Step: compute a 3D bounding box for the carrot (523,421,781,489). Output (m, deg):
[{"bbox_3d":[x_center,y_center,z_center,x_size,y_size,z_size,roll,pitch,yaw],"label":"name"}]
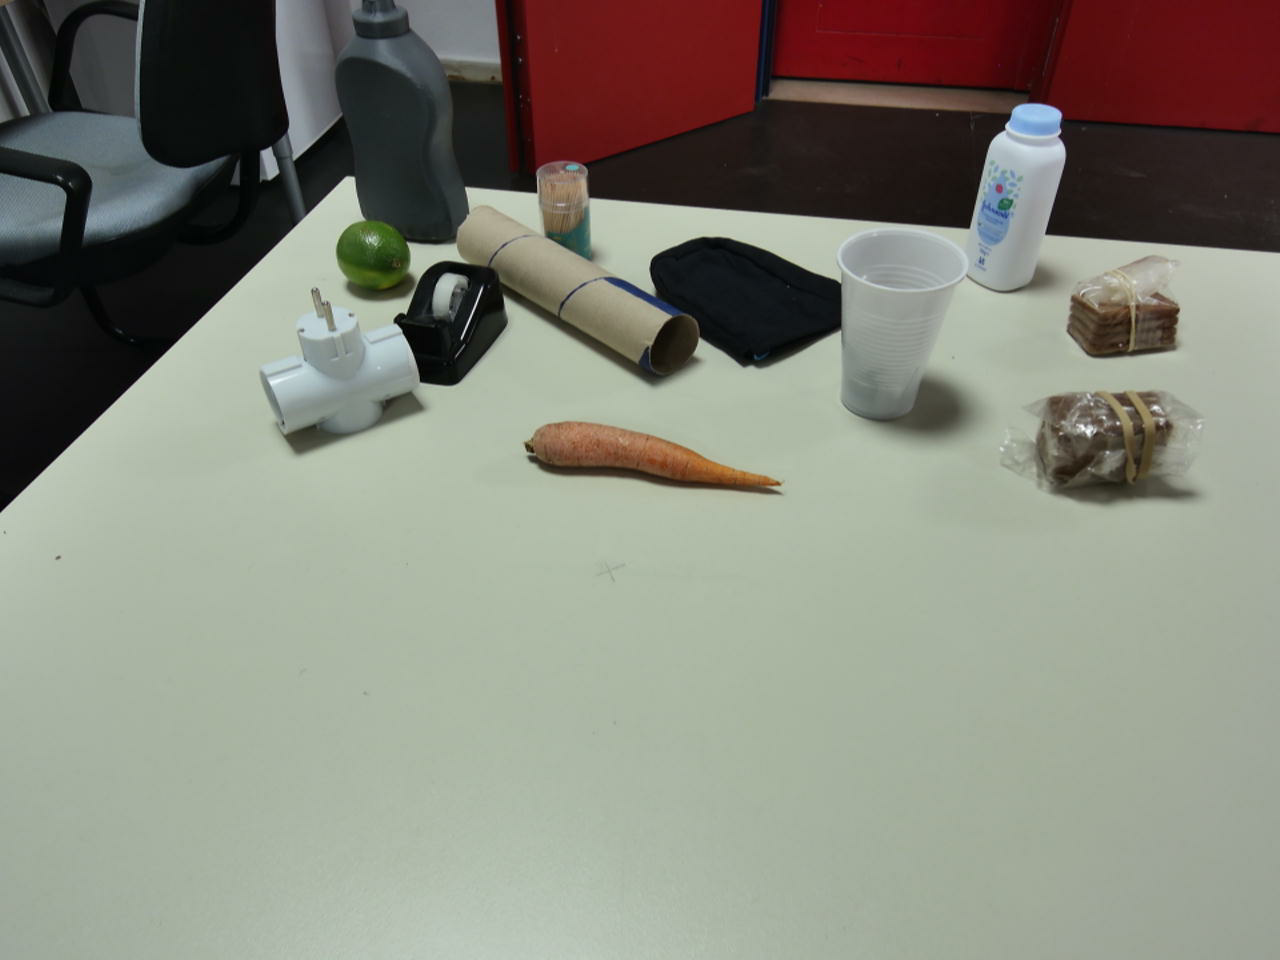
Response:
[{"bbox_3d":[0.007,-0.015,0.616,0.163,0.029,0.031,8,40,10],"label":"carrot"}]
